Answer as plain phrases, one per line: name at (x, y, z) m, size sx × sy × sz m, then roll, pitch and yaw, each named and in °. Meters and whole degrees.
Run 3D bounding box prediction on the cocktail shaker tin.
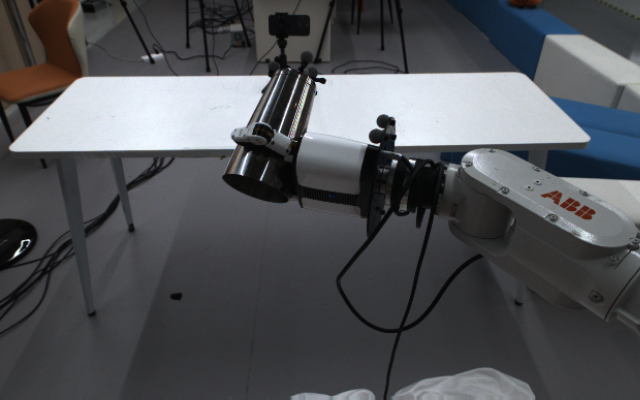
cocktail shaker tin at (-0.063, -0.092, 0.662) m, size 0.093 × 0.093 × 0.170 m, roll 14°, pitch 72°, yaw 16°
